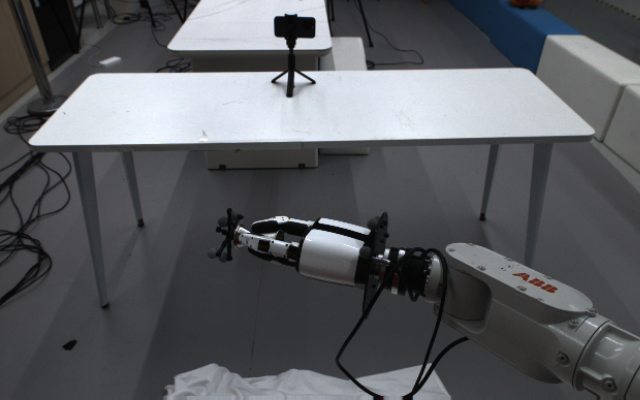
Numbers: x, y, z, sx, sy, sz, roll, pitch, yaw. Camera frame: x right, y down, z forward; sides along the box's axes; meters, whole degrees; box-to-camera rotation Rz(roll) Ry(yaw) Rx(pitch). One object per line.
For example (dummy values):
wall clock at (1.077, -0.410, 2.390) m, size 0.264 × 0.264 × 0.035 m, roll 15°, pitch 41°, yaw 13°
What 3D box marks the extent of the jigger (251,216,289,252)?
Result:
jigger at (-0.089, 0.058, 0.752) m, size 0.071 × 0.043 × 0.043 m, roll 7°, pitch 35°, yaw 16°
